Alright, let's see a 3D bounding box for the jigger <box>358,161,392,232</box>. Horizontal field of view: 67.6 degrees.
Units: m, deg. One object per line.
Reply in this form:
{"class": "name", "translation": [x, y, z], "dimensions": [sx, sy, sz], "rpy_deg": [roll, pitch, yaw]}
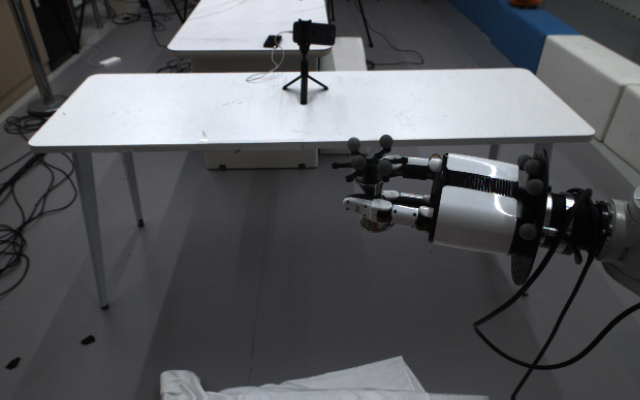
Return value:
{"class": "jigger", "translation": [0.068, -0.002, 0.601], "dimensions": [0.043, 0.071, 0.043], "rpy_deg": [-9, 31, 5]}
